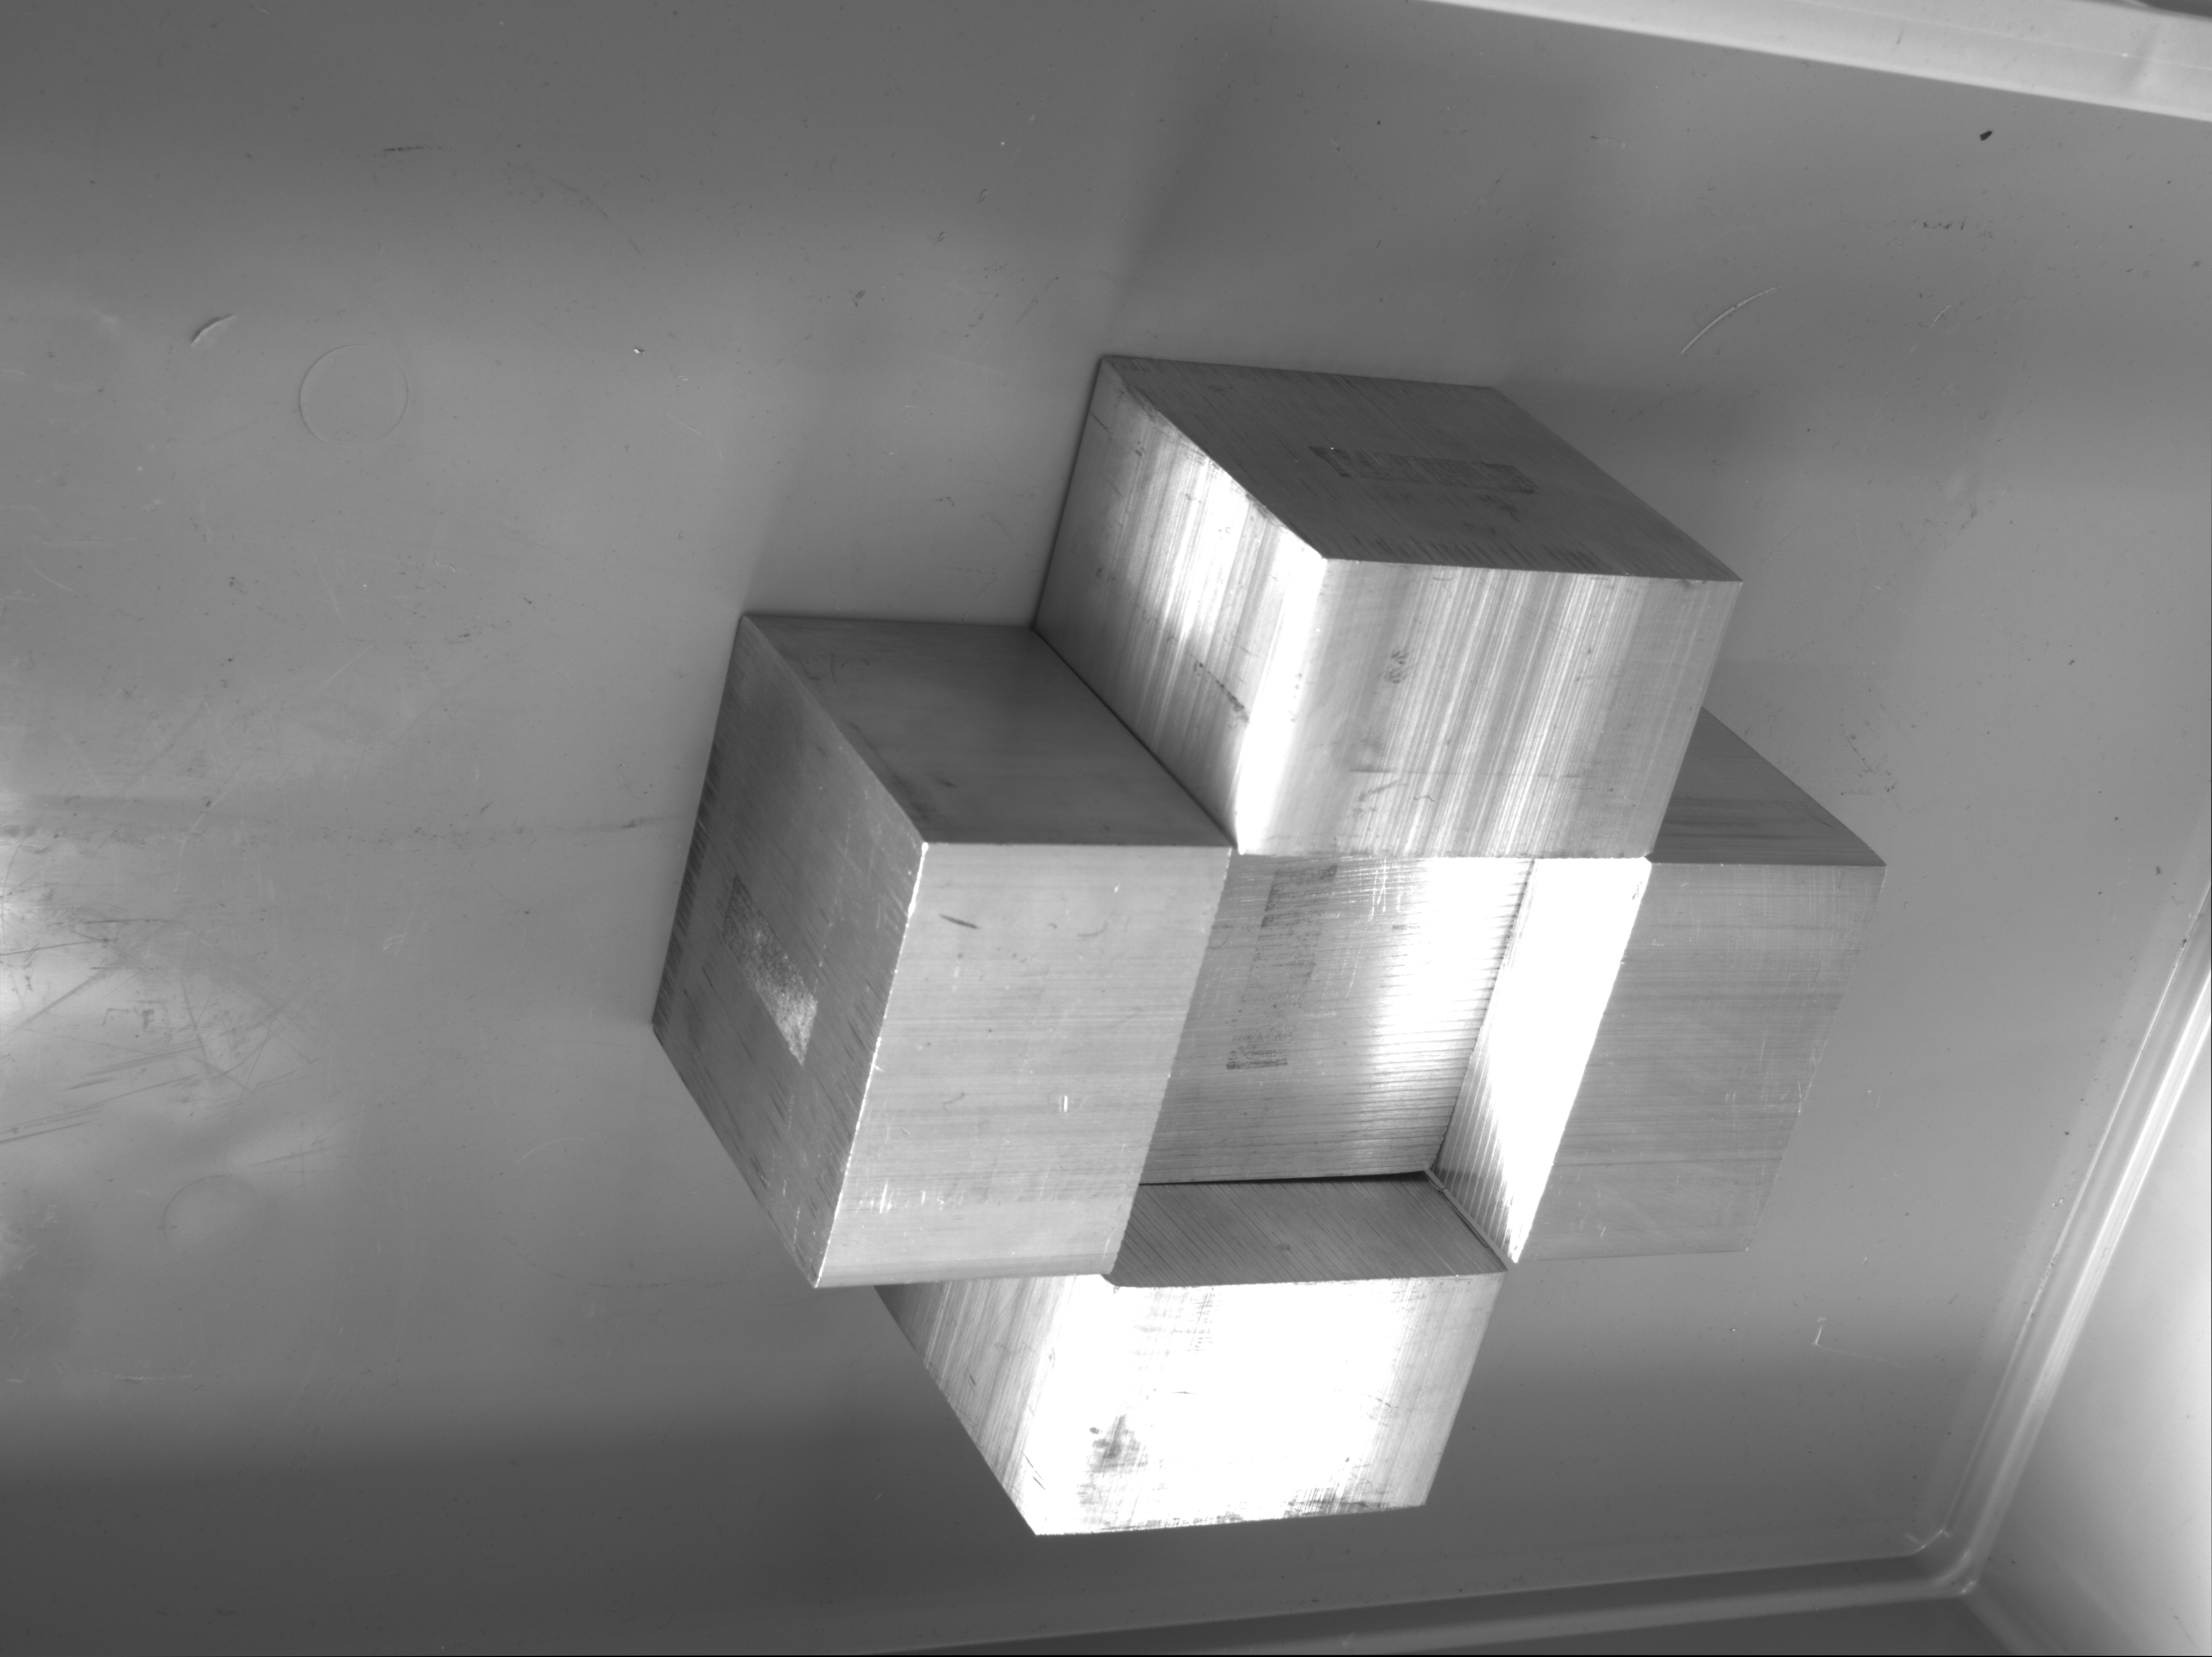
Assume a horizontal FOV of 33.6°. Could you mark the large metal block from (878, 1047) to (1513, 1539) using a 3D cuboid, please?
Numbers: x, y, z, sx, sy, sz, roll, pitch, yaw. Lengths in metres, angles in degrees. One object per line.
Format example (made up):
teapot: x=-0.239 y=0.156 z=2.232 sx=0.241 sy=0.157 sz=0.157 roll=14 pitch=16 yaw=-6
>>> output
large metal block: x=0.013 y=0.079 z=0.655 sx=0.080 sy=0.080 sz=0.050 roll=2 pitch=117 yaw=-29

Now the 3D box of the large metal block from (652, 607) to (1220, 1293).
large metal block: x=-0.030 y=0.018 z=0.596 sx=0.050 sy=0.080 sz=0.080 roll=1 pitch=118 yaw=-28

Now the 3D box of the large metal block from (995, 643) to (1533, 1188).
large metal block: x=0.023 y=0.015 z=0.640 sx=0.080 sy=0.050 sz=0.080 roll=1 pitch=118 yaw=-29

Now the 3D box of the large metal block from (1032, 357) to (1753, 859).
large metal block: x=0.045 y=-0.036 z=0.602 sx=0.080 sy=0.080 sz=0.050 roll=1 pitch=118 yaw=-28

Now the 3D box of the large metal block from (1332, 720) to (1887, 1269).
large metal block: x=0.085 y=0.022 z=0.661 sx=0.050 sy=0.080 sz=0.080 roll=1 pitch=118 yaw=-28
